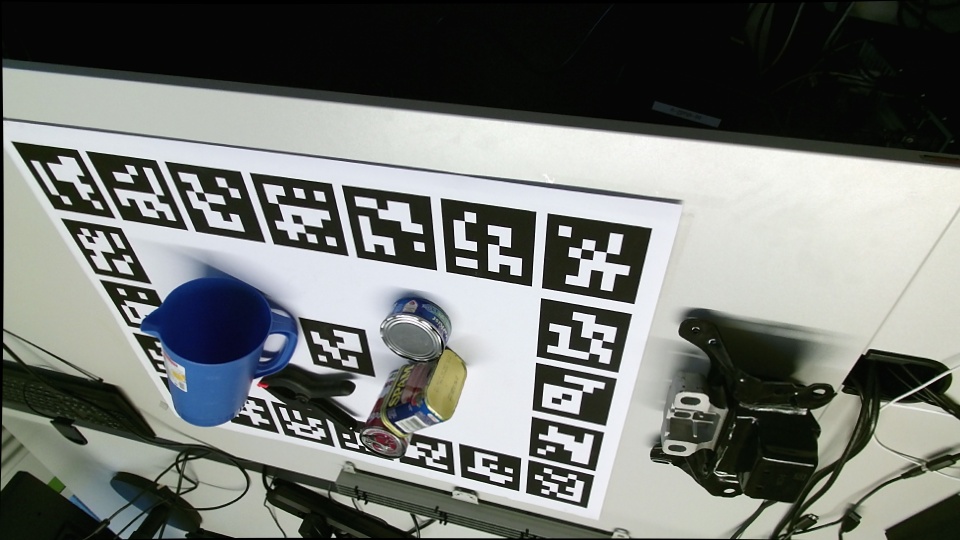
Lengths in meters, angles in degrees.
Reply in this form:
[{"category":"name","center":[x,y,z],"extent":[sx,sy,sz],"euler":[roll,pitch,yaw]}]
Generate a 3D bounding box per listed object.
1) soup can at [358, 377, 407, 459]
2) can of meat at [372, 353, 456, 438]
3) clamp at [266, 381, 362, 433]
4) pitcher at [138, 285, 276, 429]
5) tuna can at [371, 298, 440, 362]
[{"category":"soup can","center":[-0.131,0.211,0.778],"extent":[0.068,0.101,0.068],"euler":[7,127,10]},{"category":"can of meat","center":[-0.087,0.167,0.723],"extent":[0.084,0.101,0.058],"euler":[-26,114,28]},{"category":"clamp","center":[-0.272,0.210,0.878],"extent":[0.165,0.036,0.122],"euler":[12,134,13]},{"category":"pitcher","center":[-0.398,0.142,0.786],"extent":[0.190,0.132,0.243],"euler":[10,140,-18]},{"category":"tuna can","center":[-0.097,0.079,0.705],"extent":[0.086,0.033,0.086],"euler":[9,127,12]}]
